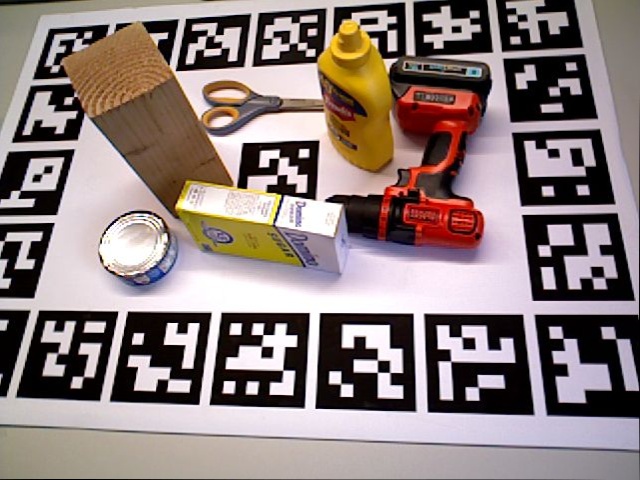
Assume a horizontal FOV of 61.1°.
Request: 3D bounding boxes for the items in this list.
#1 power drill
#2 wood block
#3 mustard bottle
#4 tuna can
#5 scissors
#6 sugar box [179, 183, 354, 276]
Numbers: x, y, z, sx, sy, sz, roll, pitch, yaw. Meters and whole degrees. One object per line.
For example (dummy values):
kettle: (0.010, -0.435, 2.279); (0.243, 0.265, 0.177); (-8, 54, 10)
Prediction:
power drill: (0.092, -0.087, 0.613); (0.185, 0.058, 0.186); (11, 76, 13)
wood block: (-0.179, -0.119, 0.596); (0.090, 0.208, 0.089); (-27, 66, -5)
mustard bottle: (0.040, -0.157, 0.586); (0.058, 0.193, 0.096); (-38, 68, -10)
tuna can: (-0.214, 0.011, 0.627); (0.086, 0.034, 0.085); (-3, 67, 6)
scissors: (-0.087, -0.177, 0.701); (0.203, 0.016, 0.086); (0, 63, 9)
sugar box: (-0.053, -0.011, 0.585); (0.176, 0.094, 0.044); (10, 64, 10)
